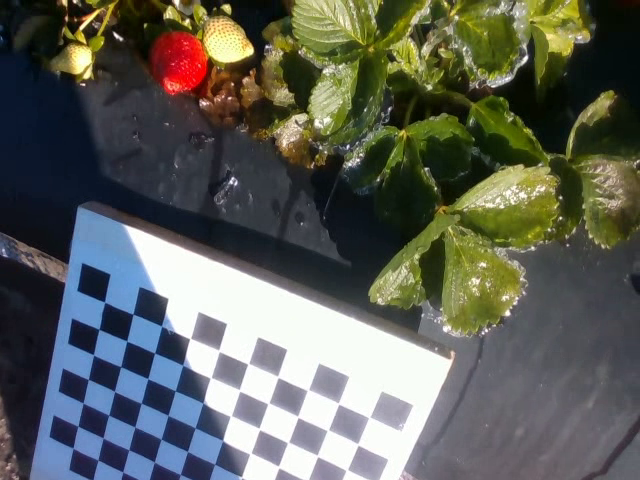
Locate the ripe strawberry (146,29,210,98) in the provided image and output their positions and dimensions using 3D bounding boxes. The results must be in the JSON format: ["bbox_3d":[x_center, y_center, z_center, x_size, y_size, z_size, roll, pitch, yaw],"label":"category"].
[{"bbox_3d":[-0.089,-0.104,0.360,0.040,0.042,0.053,-15,41,14],"label":"ripe strawberry"}]
